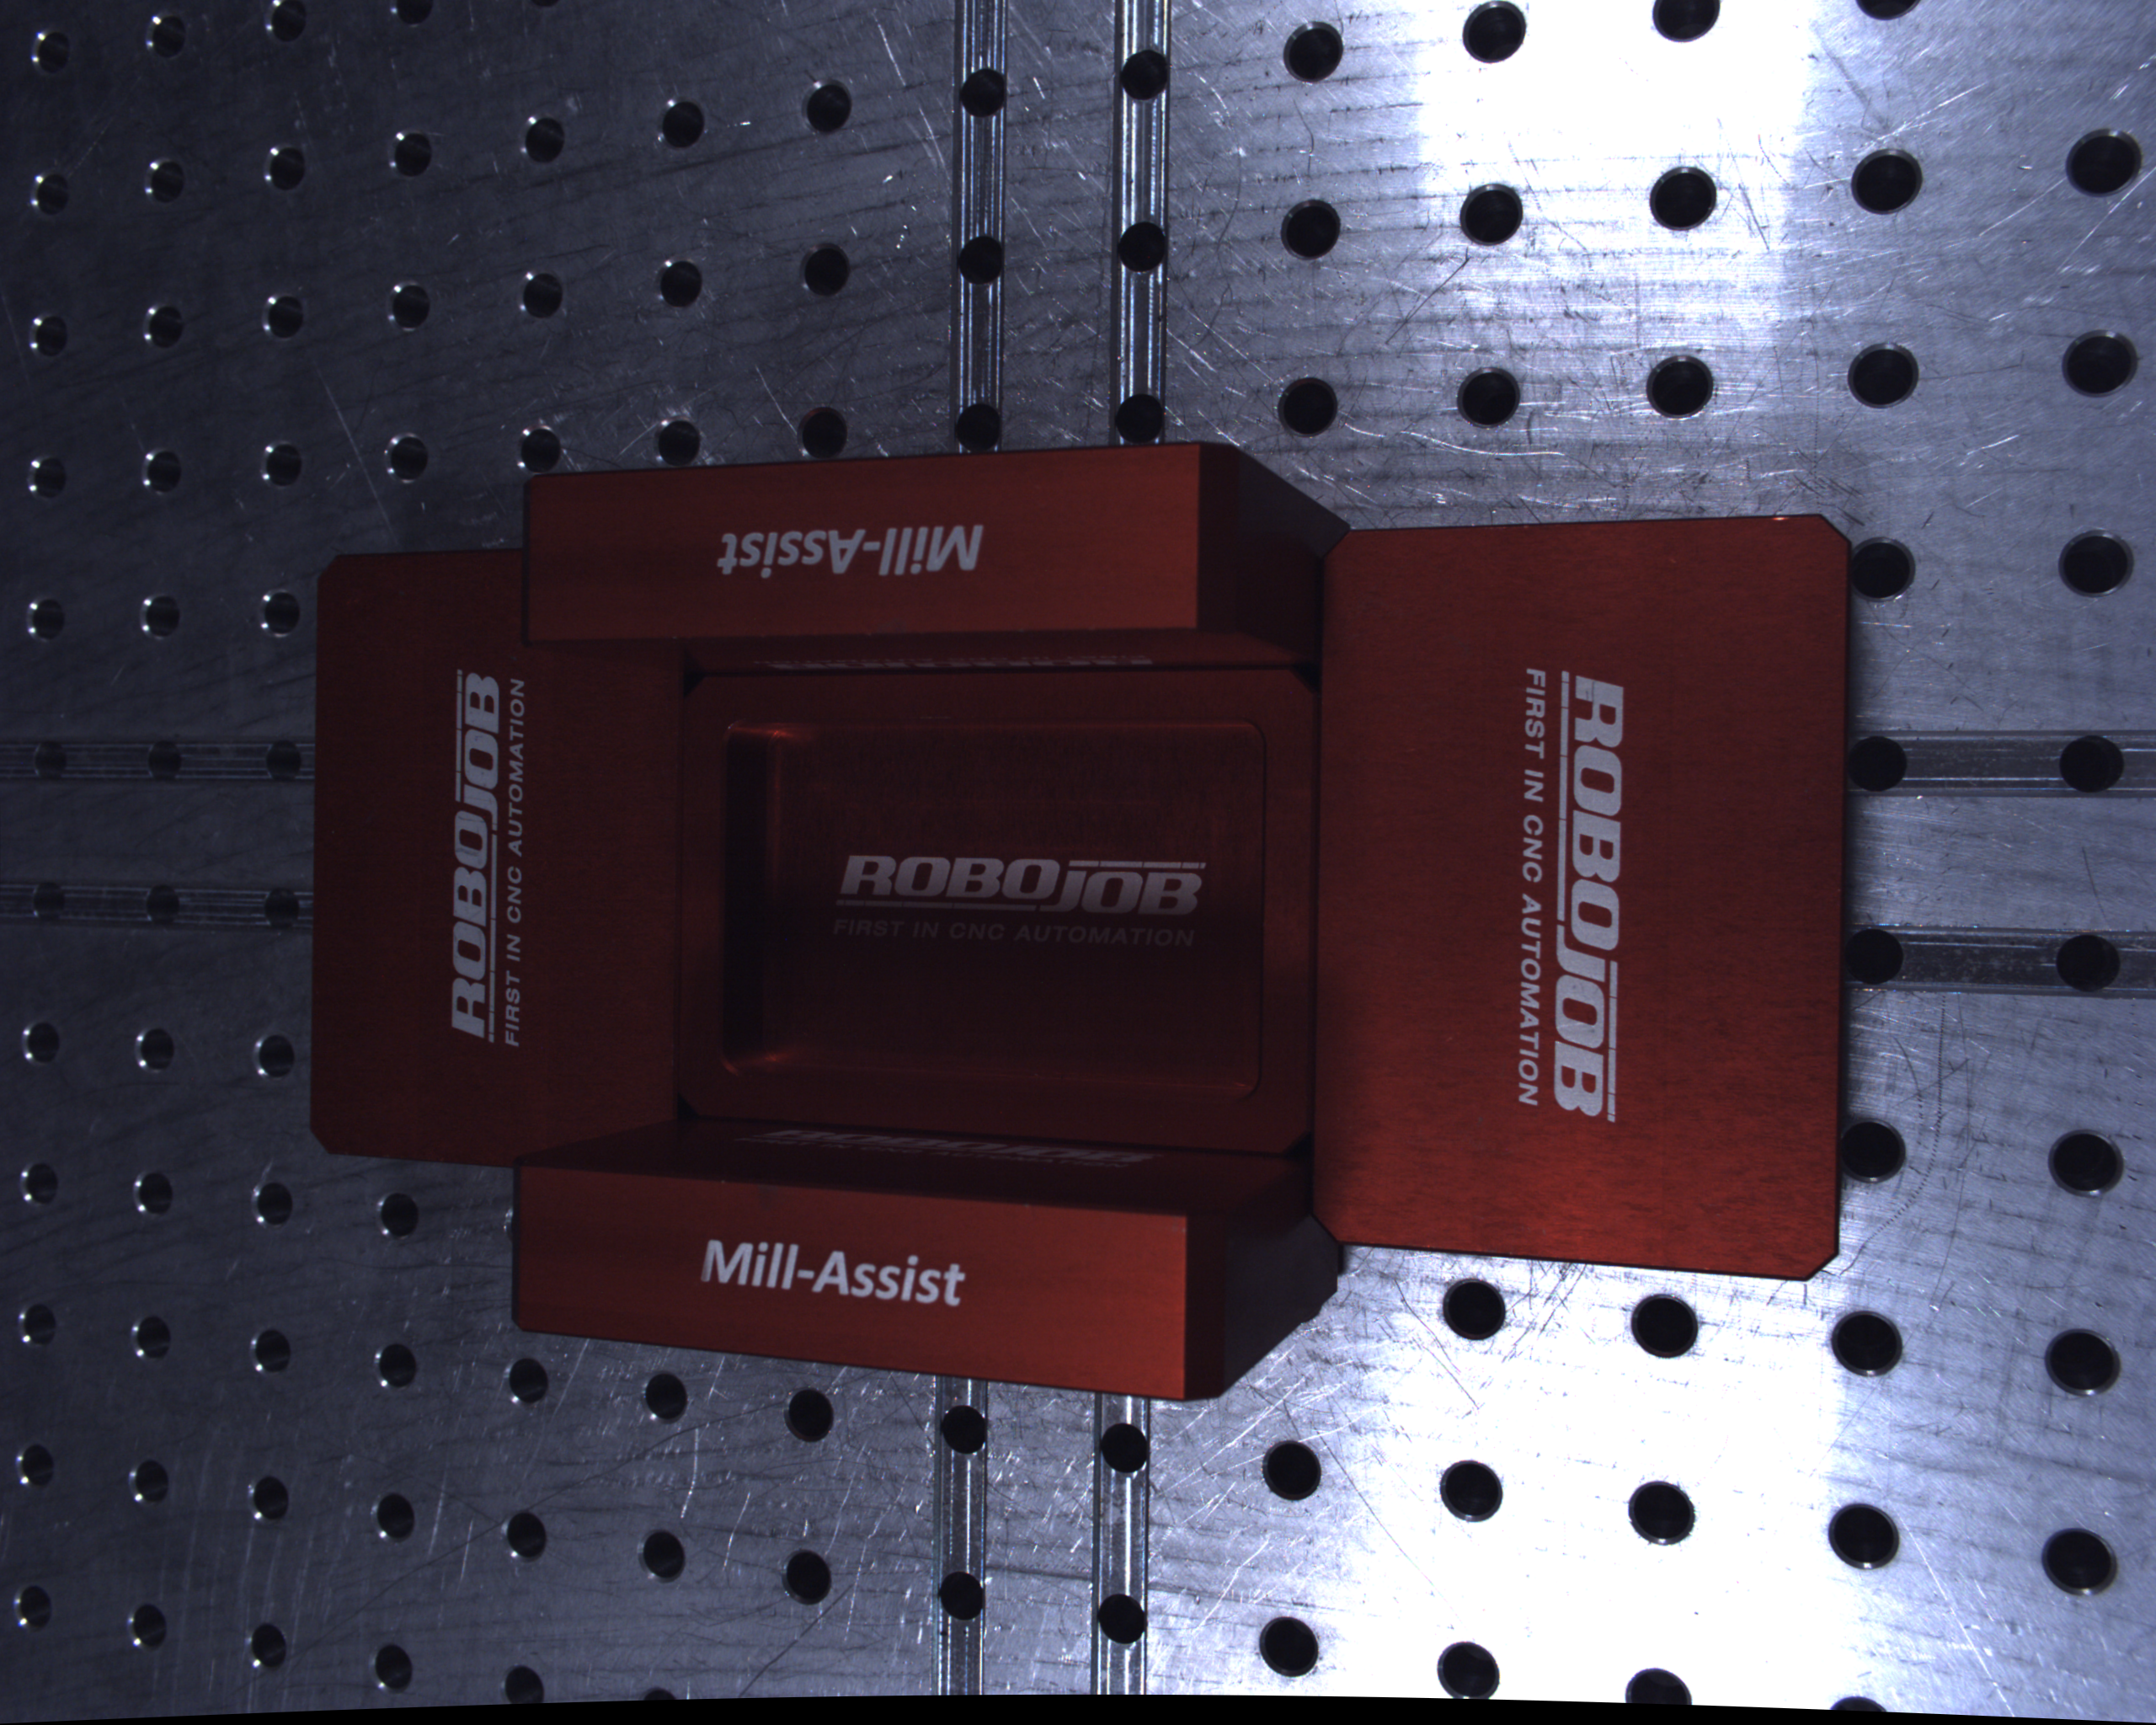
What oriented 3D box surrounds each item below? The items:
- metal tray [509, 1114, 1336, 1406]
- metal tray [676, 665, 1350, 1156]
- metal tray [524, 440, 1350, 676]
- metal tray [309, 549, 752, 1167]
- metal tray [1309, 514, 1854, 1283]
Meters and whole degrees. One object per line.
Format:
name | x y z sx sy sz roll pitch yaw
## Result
metal tray | -0.025 0.068 0.384 0.130 0.090 0.030 1 91 19
metal tray | -0.014 0.008 0.412 0.130 0.030 0.089 1 90 19
metal tray | -0.023 -0.052 0.385 0.130 0.090 0.030 1 91 19
metal tray | -0.118 -0.001 0.450 0.090 0.030 0.129 1 90 19
metal tray | 0.090 0.005 0.376 0.090 0.030 0.129 1 90 18
